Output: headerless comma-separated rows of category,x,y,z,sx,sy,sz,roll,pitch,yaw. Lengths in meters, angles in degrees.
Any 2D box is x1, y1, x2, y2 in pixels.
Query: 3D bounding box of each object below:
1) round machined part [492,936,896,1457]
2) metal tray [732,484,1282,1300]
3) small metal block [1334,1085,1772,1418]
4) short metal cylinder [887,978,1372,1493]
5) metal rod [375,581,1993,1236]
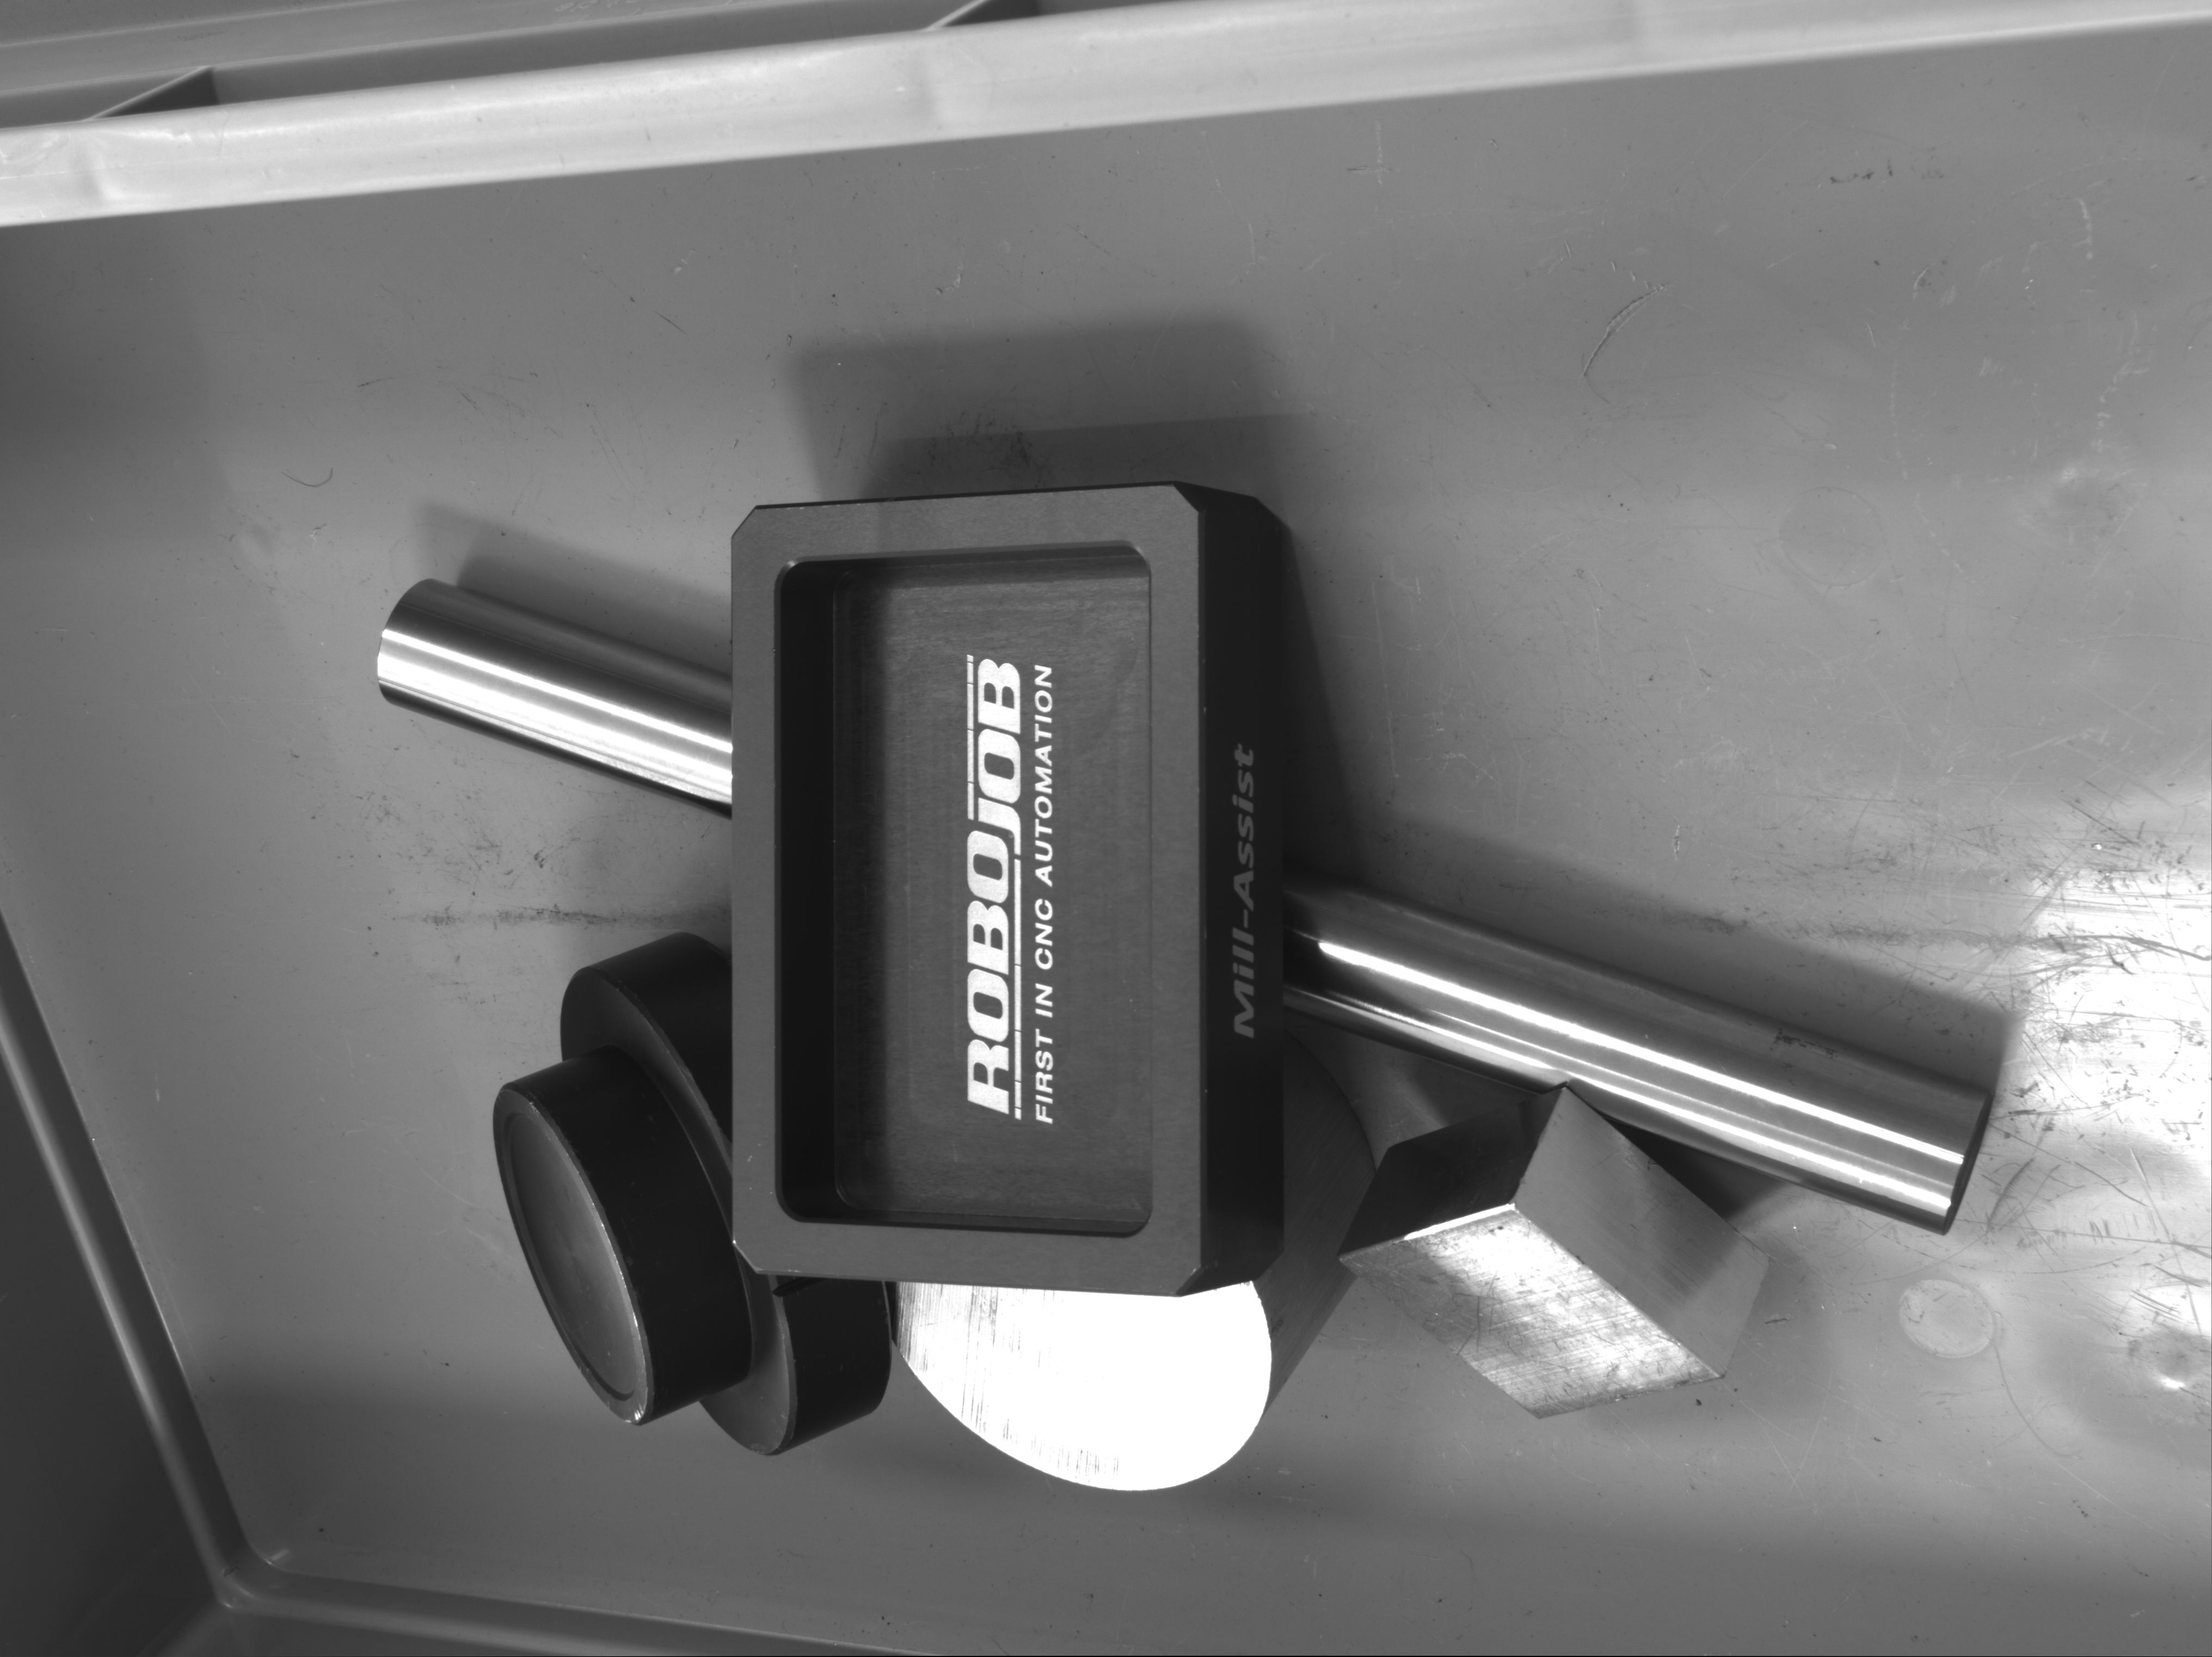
round machined part,-0.082,0.073,0.688,0.098,0.042,0.098,44,145,42
metal tray,-0.017,0.011,0.616,0.090,0.030,0.130,-1,89,28
small metal block,0.076,0.074,0.631,0.050,0.025,0.050,38,147,-17
short metal cylinder,0.003,0.073,0.668,0.080,0.050,0.080,13,124,21
metal rod,0.005,0.010,0.644,0.299,0.025,0.025,18,125,18
